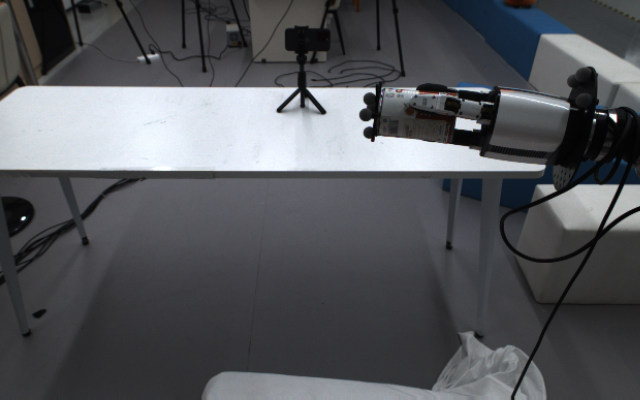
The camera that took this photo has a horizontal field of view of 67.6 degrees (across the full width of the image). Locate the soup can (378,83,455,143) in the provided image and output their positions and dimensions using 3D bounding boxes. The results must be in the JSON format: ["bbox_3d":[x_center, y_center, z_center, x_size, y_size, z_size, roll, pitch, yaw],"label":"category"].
[{"bbox_3d":[0.135,-0.118,0.668,0.101,0.067,0.067,6,35,10],"label":"soup can"}]
